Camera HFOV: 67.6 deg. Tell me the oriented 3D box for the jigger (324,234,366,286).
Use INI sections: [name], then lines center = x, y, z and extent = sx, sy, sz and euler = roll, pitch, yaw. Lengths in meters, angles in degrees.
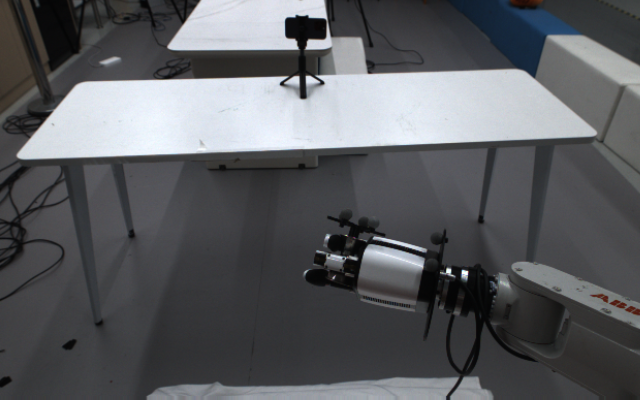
[jigger]
center = 0.038, 0.086, 0.703
extent = 0.043, 0.071, 0.043
euler = 19, -6, 2
